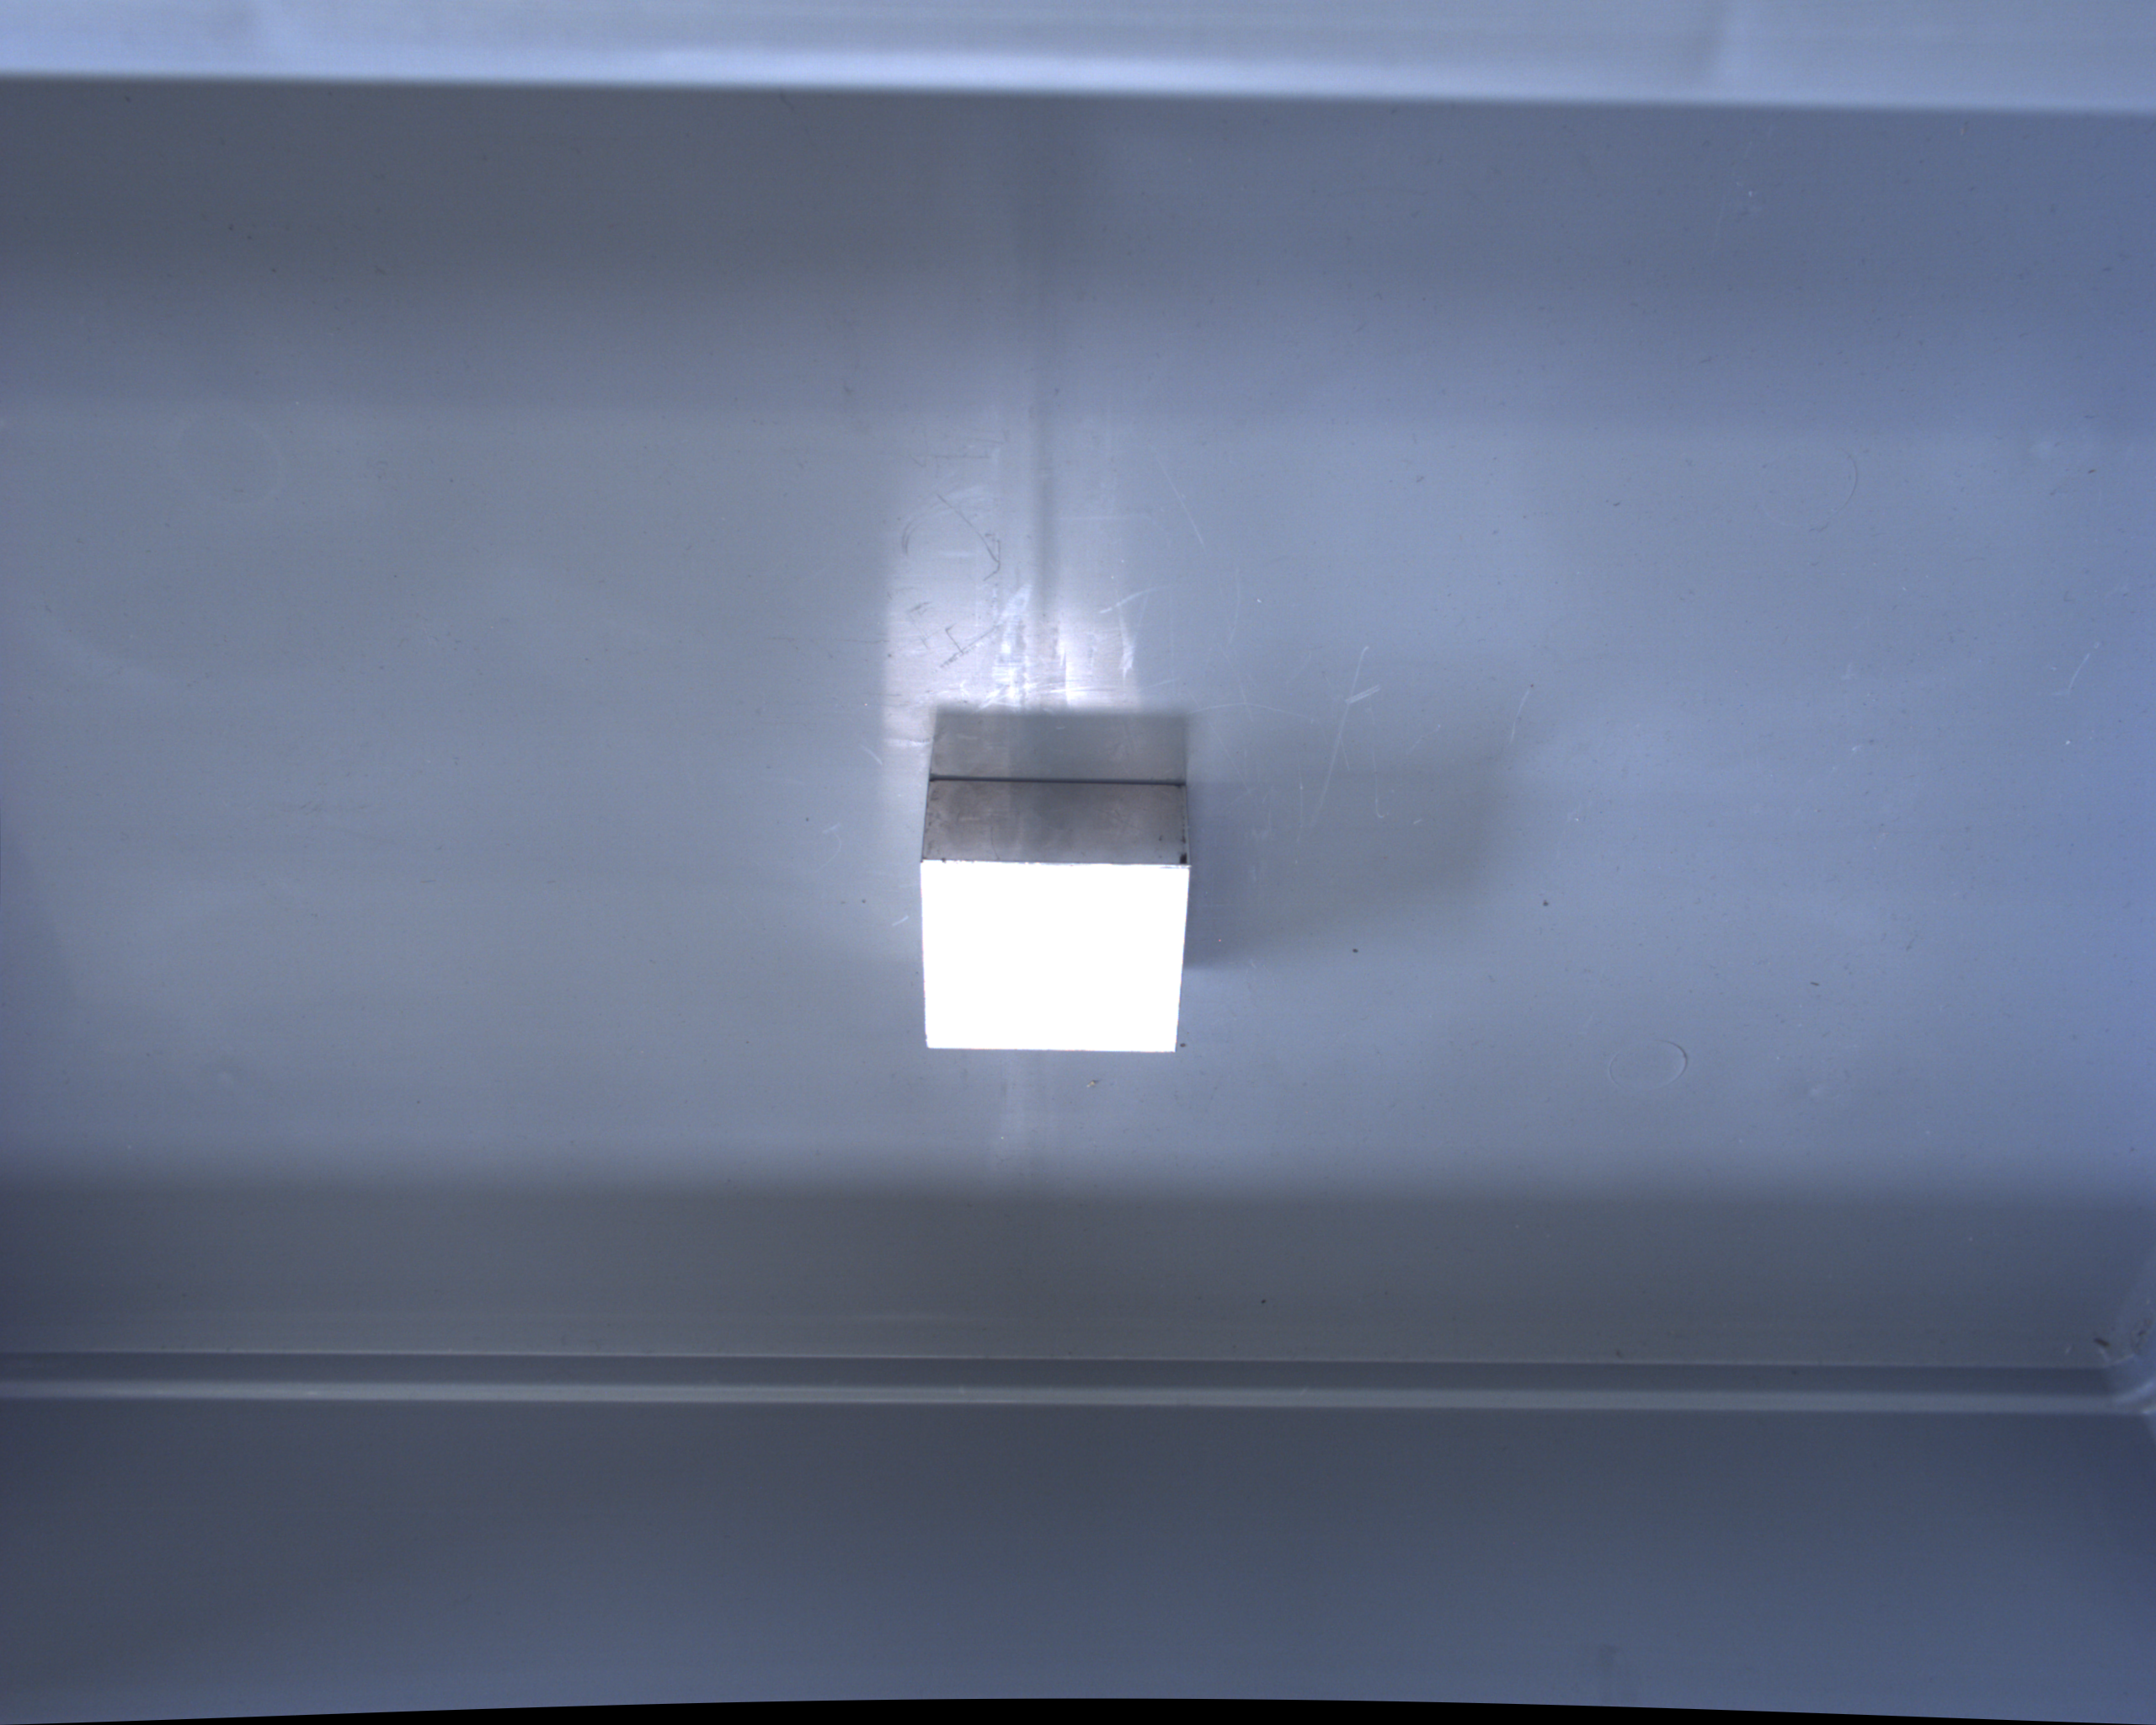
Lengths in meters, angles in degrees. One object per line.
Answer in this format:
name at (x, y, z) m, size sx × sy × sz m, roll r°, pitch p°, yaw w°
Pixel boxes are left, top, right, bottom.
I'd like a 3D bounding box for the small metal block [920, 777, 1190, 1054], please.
small metal block at (-0.005, 0.011, 0.413) m, size 0.050 × 0.025 × 0.050 m, roll 1°, pitch 130°, yaw -1°
